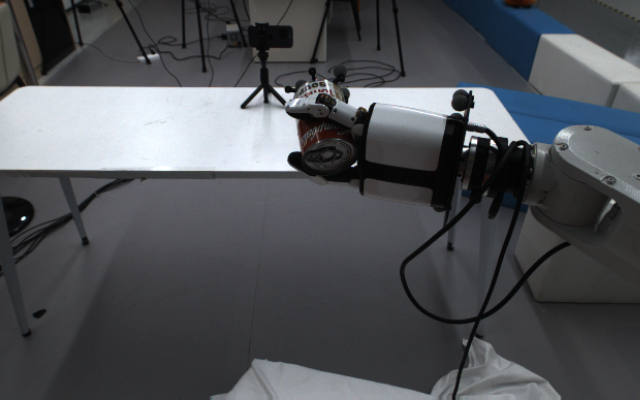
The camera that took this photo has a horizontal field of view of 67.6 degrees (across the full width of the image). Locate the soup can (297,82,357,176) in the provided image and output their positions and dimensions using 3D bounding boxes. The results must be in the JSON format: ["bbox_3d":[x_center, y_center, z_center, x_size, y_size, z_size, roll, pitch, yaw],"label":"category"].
[{"bbox_3d":[0.006,-0.091,0.599,0.067,0.067,0.101,-5,57,-10],"label":"soup can"}]
